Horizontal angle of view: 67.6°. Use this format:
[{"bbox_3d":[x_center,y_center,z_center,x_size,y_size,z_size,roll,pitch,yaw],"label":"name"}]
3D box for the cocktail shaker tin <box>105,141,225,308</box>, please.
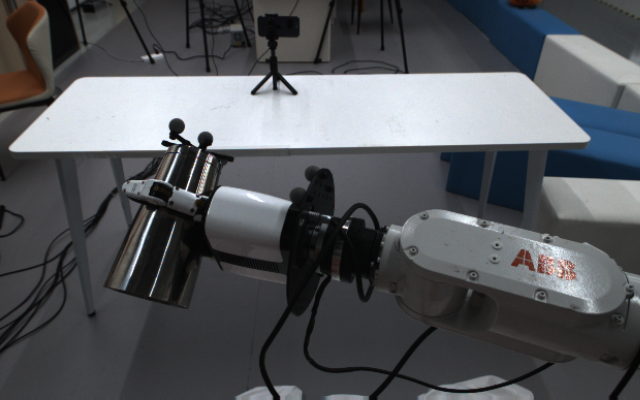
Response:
[{"bbox_3d":[-0.166,0.029,0.545,0.093,0.093,0.170,10,71,11],"label":"cocktail shaker tin"}]
